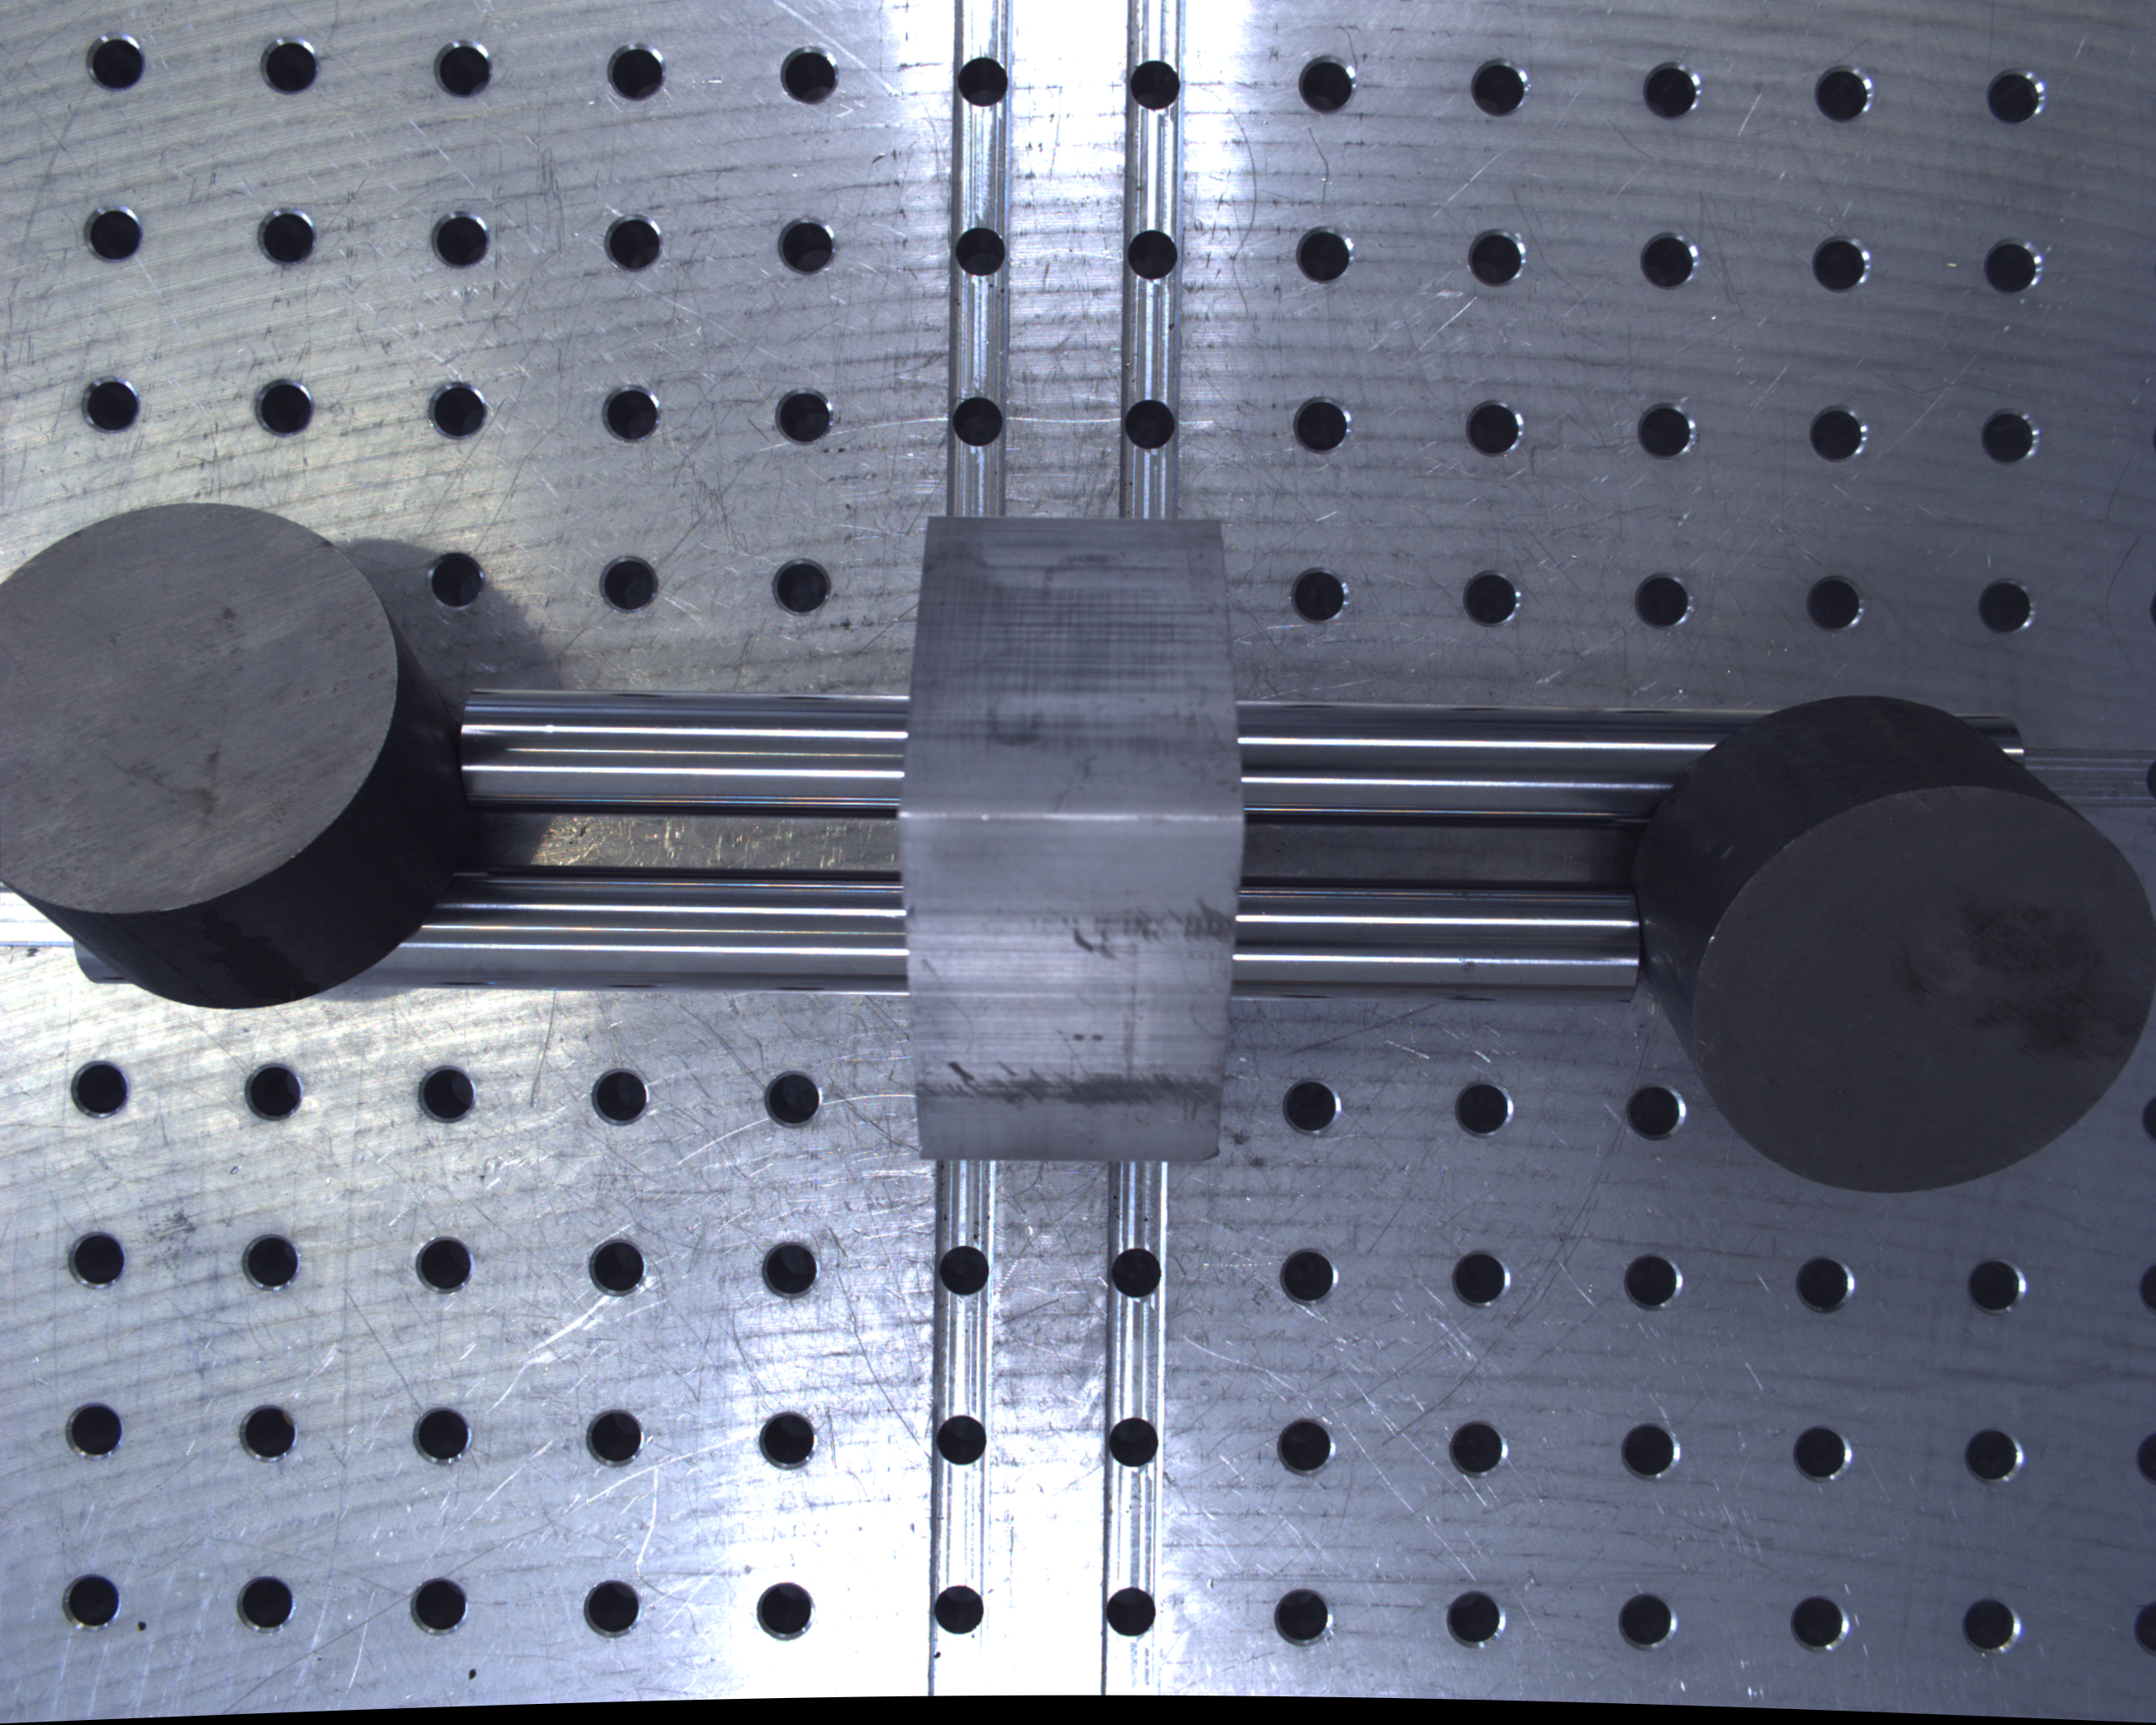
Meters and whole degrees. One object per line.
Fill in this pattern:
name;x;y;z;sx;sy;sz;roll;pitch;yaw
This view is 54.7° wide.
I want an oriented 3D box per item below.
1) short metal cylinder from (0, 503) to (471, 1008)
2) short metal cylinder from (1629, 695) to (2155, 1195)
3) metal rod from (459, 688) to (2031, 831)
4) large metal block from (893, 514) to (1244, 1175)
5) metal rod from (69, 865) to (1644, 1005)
short metal cylinder;-0.159;-0.019;0.385;0.081;0.050;0.080;0;67;-1
short metal cylinder;0.148;0.014;0.389;0.081;0.050;0.079;0;112;0
metal rod;0.032;-0.020;0.413;0.302;0.025;0.025;1;90;0
large metal block;-0.001;-0.004;0.356;0.050;0.080;0.079;1;132;0
metal rod;-0.042;0.014;0.412;0.302;0.025;0.025;1;90;0
